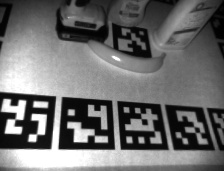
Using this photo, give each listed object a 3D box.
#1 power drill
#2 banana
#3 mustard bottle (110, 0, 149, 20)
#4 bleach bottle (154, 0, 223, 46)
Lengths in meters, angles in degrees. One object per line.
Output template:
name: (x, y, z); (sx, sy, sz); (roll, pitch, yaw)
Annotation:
power drill: (-0.026, -0.210, 0.446); (0.186, 0.186, 0.057); (3, 55, -19)
banana: (0.055, -0.085, 0.517); (0.198, 0.039, 0.074); (7, 65, -13)
mustard bottle: (0.065, -0.246, 0.518); (0.097, 0.191, 0.058); (6, 61, -16)
bleach bottle: (0.198, -0.193, 0.510); (0.103, 0.250, 0.067); (-3, 65, -19)
